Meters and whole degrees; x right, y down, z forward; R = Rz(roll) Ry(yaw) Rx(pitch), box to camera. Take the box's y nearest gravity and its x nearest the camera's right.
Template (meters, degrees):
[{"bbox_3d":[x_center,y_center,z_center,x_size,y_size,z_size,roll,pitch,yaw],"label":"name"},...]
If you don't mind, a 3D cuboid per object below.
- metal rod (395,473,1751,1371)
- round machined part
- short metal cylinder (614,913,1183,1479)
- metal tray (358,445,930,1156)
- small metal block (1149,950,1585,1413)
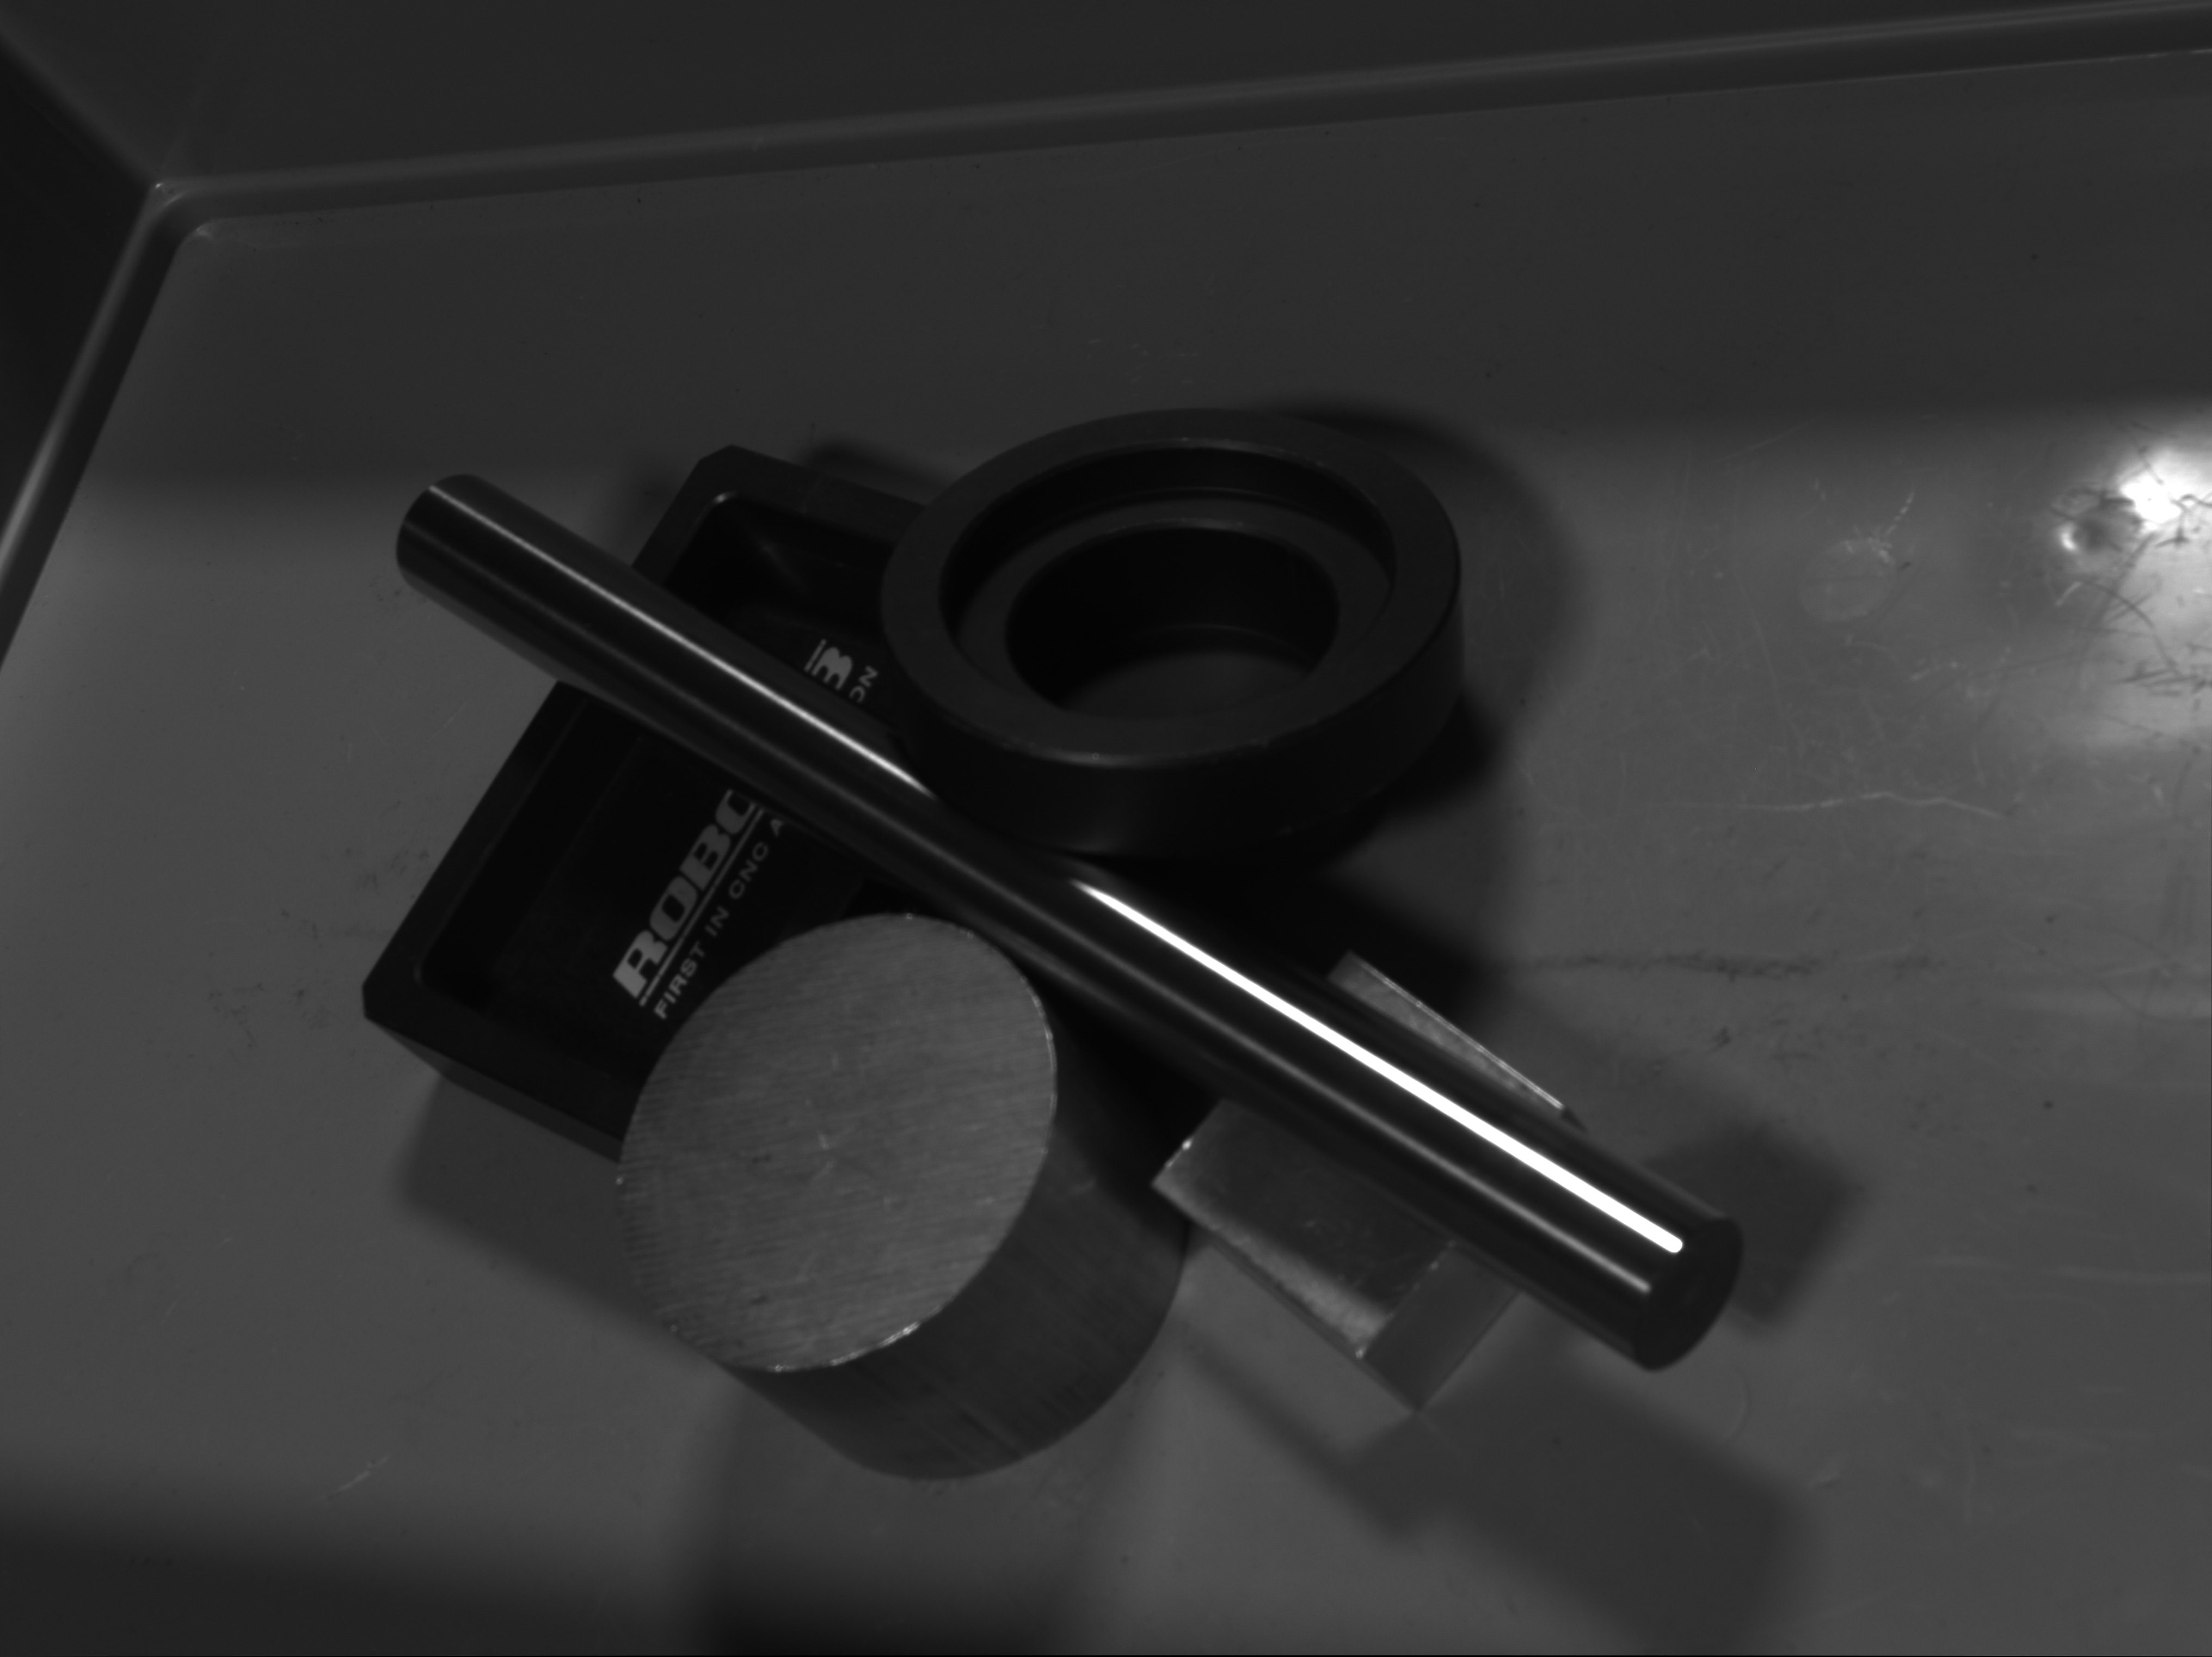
[{"bbox_3d":[-0.020,0.005,0.613,0.299,0.025,0.025,30,78,35],"label":"metal rod"},{"bbox_3d":[0.012,-0.027,0.626,0.098,0.042,0.098,-4,41,4],"label":"round machined part"},{"bbox_3d":[-0.034,0.061,0.606,0.080,0.050,0.080,-13,56,21],"label":"short metal cylinder"},{"bbox_3d":[-0.069,-0.002,0.677,0.090,0.030,0.130,20,72,36],"label":"metal tray"},{"bbox_3d":[0.044,0.056,0.584,0.050,0.025,0.050,-49,51,-6],"label":"small metal block"}]
